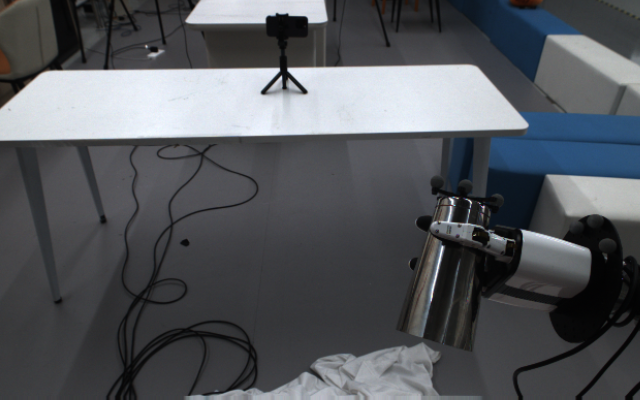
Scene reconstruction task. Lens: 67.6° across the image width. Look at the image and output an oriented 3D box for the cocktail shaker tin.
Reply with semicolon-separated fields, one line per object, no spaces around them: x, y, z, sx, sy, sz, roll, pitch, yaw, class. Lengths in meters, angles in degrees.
0.161;0.084;0.593;0.093;0.093;0.170;13;79;15;cocktail shaker tin
